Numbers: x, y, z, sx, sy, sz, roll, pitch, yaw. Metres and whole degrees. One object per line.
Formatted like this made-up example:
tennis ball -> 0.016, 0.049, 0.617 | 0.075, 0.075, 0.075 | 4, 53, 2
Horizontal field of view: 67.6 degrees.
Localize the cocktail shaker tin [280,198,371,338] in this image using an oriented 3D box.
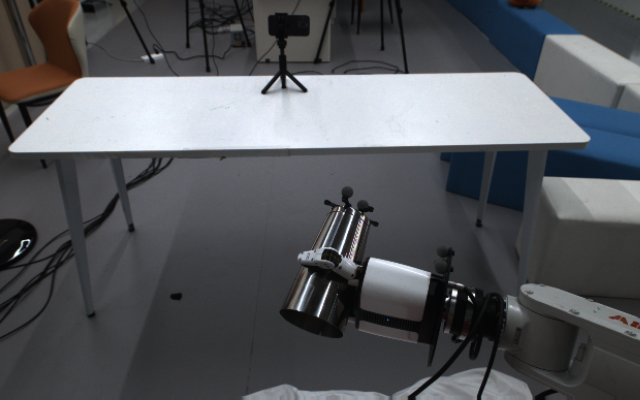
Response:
cocktail shaker tin -> 0.014, 0.096, 0.683 | 0.093, 0.093, 0.170 | 14, 61, 17
